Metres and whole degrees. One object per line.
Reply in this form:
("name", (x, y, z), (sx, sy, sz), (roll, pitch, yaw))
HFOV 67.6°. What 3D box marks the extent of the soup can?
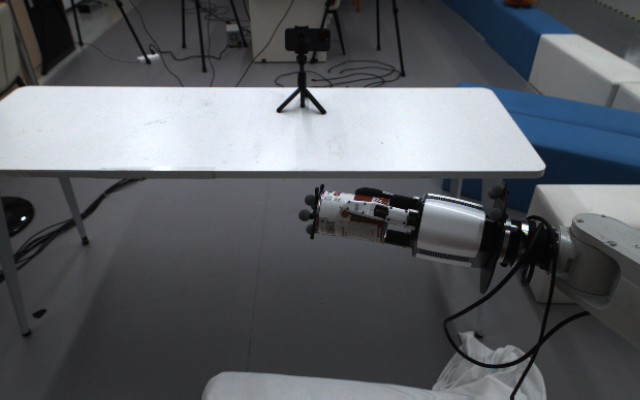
("soup can", (0.052, 0.025, 0.721), (0.101, 0.067, 0.067), (7, 35, 10))
